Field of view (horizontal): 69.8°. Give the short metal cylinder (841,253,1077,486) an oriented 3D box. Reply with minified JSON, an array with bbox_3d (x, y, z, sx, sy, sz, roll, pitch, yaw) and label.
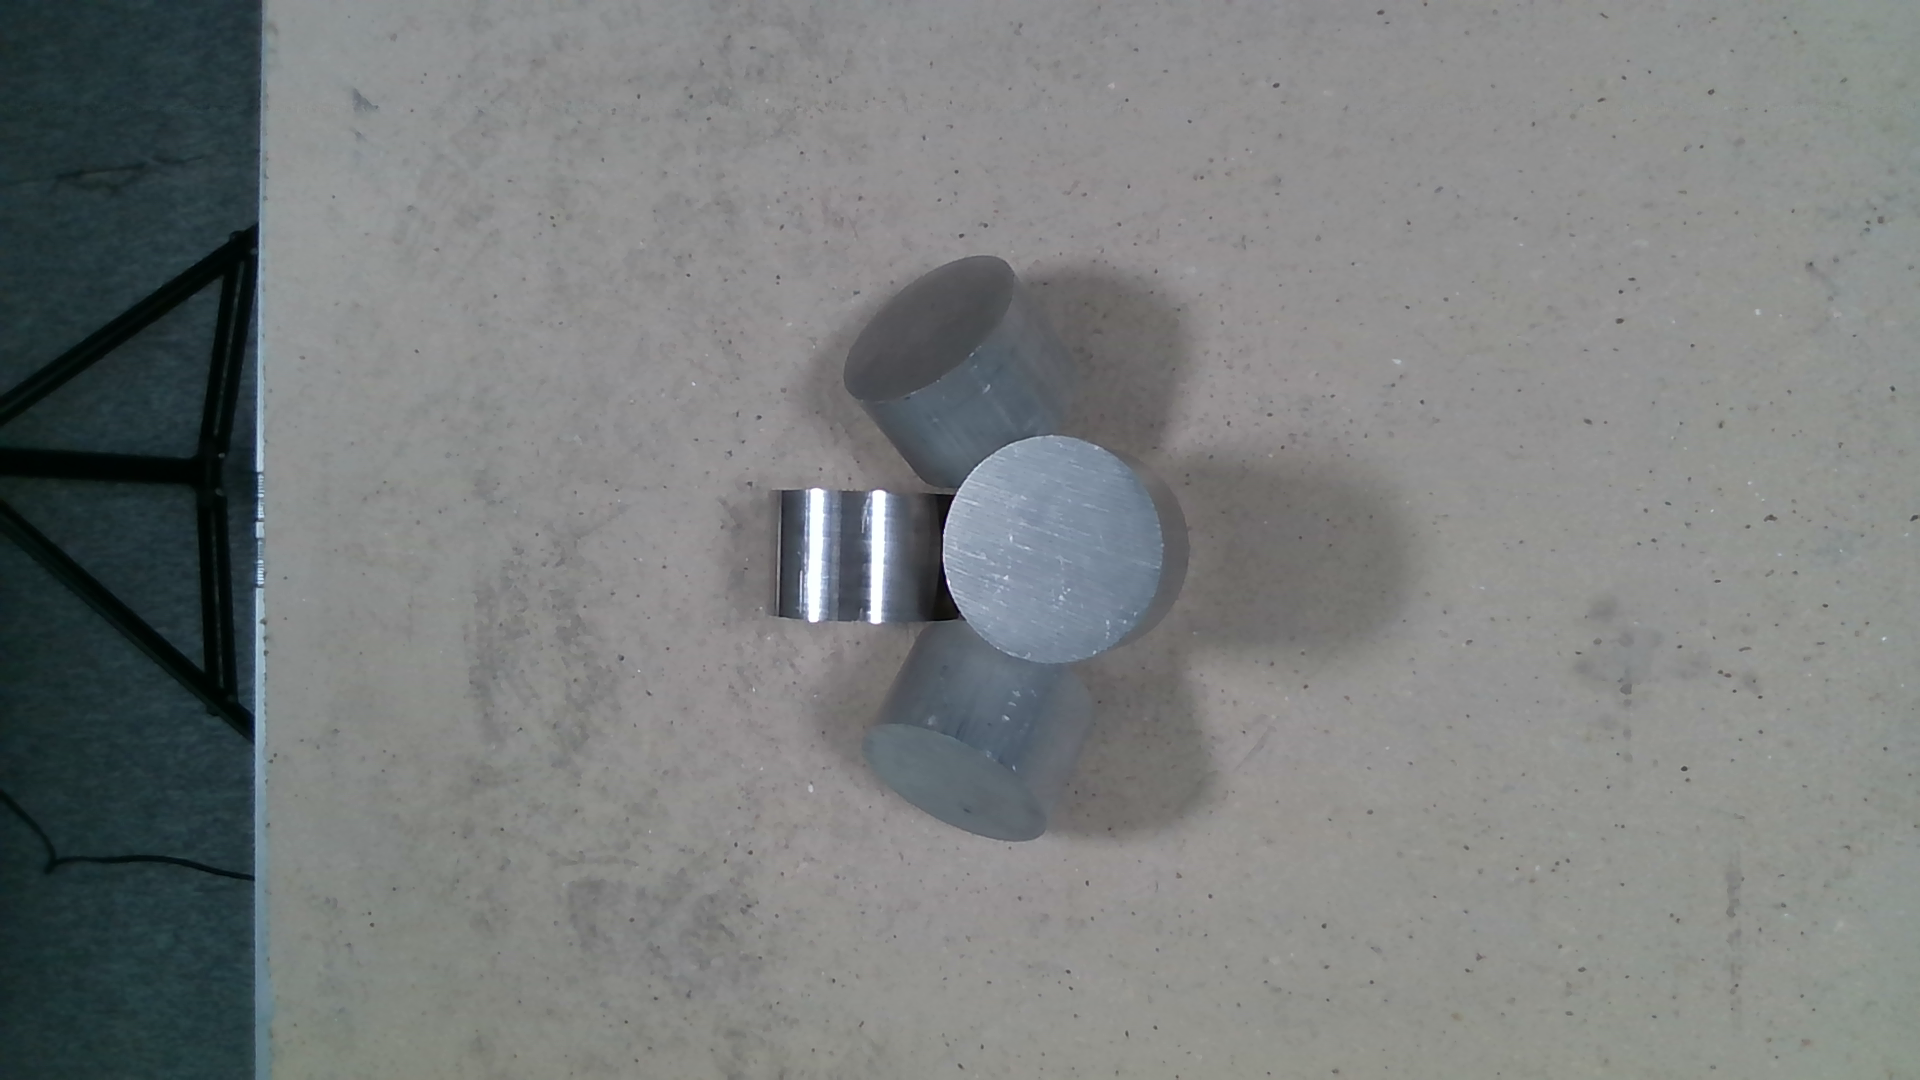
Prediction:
[{"bbox_3d":[0.000,-0.068,0.551,0.080,0.050,0.080,-25,38,21],"label":"short metal cylinder"}]

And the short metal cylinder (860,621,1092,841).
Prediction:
[{"bbox_3d":[0.007,0.077,0.548,0.080,0.080,0.050,16,57,19],"label":"short metal cylinder"}]

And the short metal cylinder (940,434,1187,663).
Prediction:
[{"bbox_3d":[0.039,0.003,0.504,0.080,0.050,0.080,0,90,20],"label":"short metal cylinder"}]

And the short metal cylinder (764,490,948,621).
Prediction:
[{"bbox_3d":[-0.042,0.006,0.571,0.080,0.080,0.050,2,91,20],"label":"short metal cylinder"}]

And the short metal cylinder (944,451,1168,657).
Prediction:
[{"bbox_3d":[0.040,0.005,0.558,0.080,0.050,0.080,0,90,20],"label":"short metal cylinder"}]
